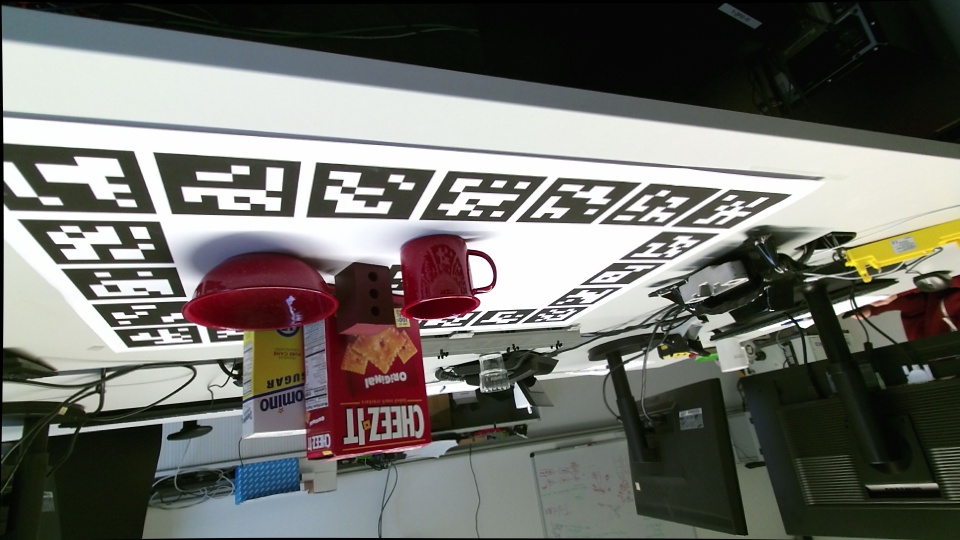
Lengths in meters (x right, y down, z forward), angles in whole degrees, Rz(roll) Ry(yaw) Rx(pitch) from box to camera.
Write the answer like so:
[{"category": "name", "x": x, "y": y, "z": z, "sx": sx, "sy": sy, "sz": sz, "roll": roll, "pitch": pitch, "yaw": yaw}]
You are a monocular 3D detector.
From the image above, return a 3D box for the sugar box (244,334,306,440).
[{"category": "sugar box", "x": -0.263, "y": 0.133, "z": 0.715, "sx": 0.093, "sy": 0.175, "sz": 0.045, "roll": 9, "pitch": 153, "yaw": -43}]

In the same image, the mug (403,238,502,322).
[{"category": "mug", "x": -0.032, "y": 0.011, "z": 0.622, "sx": 0.118, "sy": 0.081, "sz": 0.093, "roll": -6, "pitch": 168, "yaw": -16}]

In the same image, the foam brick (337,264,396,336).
[{"category": "foam brick", "x": -0.143, "y": 0.038, "z": 0.673, "sx": 0.053, "sy": 0.077, "sz": 0.051, "roll": 5, "pitch": 156, "yaw": -38}]

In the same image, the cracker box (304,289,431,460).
[{"category": "cracker box", "x": -0.153, "y": 0.142, "z": 0.741, "sx": 0.072, "sy": 0.212, "sz": 0.165, "roll": -22, "pitch": 156, "yaw": 34}]

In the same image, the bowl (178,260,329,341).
[{"category": "bowl", "x": -0.244, "y": 0.032, "z": 0.597, "sx": 0.162, "sy": 0.055, "sz": 0.162, "roll": -9, "pitch": 159, "yaw": -3}]
